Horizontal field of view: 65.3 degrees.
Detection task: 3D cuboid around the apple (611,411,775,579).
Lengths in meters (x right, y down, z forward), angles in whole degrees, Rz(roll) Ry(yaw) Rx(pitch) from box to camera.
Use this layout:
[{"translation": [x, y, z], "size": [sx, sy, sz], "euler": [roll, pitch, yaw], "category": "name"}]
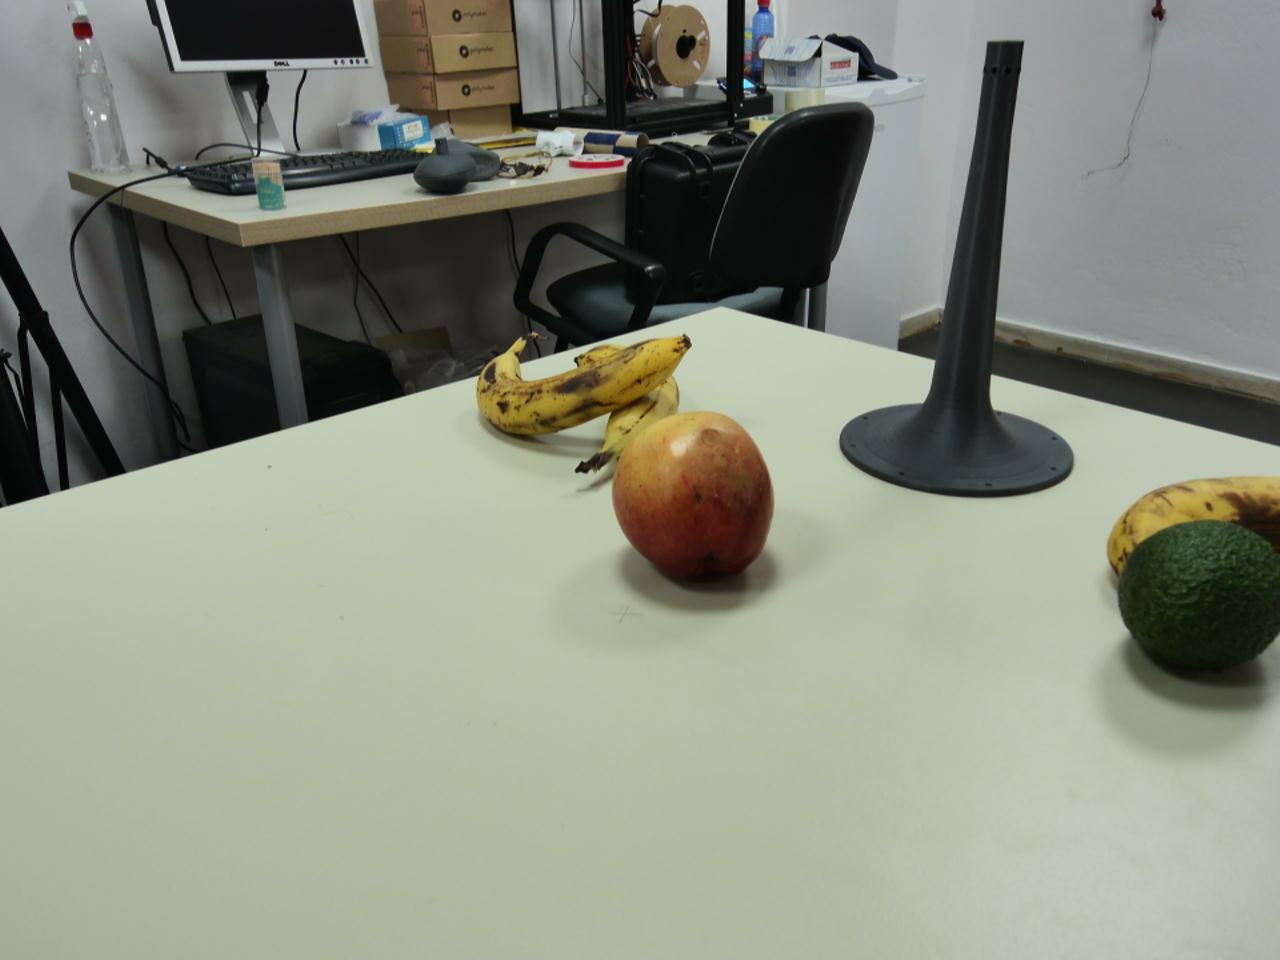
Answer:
[{"translation": [0.028, 0.006, 0.535], "size": [0.086, 0.084, 0.093], "euler": [4, 24, 12], "category": "apple"}]
